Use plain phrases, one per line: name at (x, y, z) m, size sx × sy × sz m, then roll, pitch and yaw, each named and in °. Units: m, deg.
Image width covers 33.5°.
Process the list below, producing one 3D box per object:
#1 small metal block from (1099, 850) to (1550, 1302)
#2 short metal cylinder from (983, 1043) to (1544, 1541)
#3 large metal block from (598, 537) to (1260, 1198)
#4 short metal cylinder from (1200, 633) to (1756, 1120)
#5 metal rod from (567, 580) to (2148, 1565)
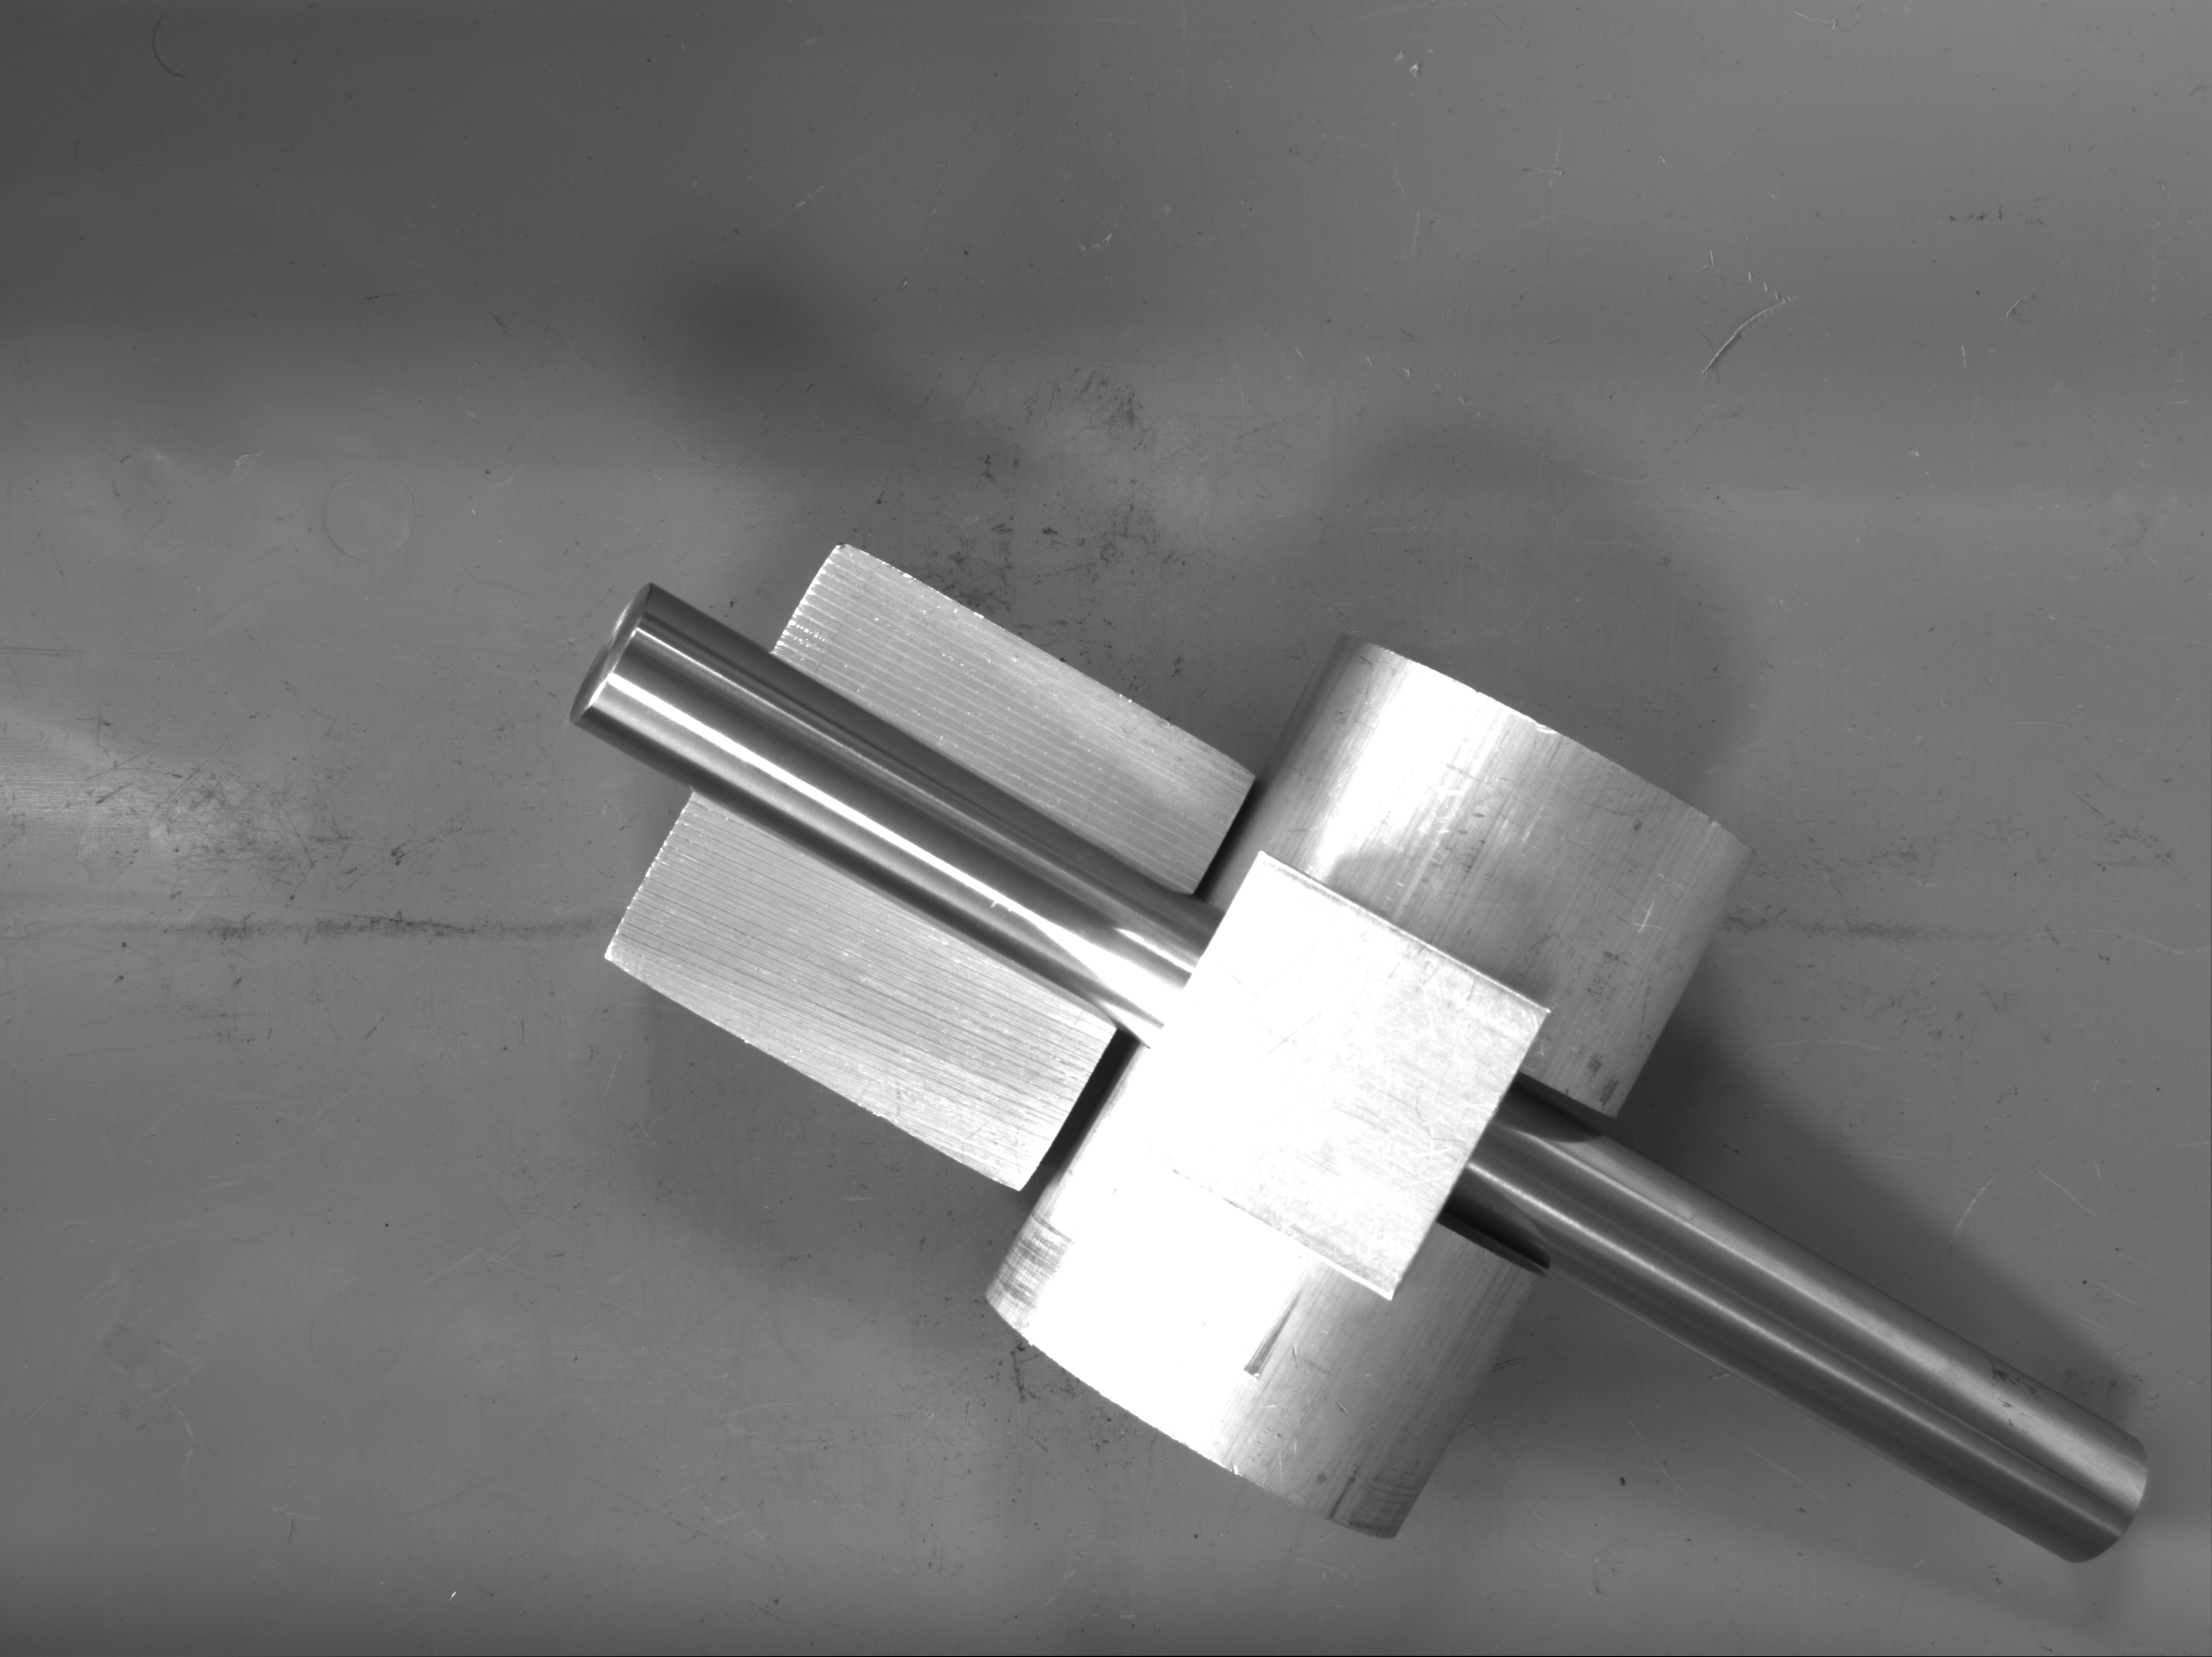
small metal block at (0.034, 0.038, 0.566) m, size 0.050 × 0.025 × 0.050 m, roll 29°, pitch 90°, yaw 8°
short metal cylinder at (0.027, 0.077, 0.617) m, size 0.080 × 0.080 × 0.050 m, roll 30°, pitch 90°, yaw 0°
large metal block at (-0.029, 0.006, 0.630) m, size 0.080 × 0.050 × 0.080 m, roll 29°, pitch 90°, yaw 0°
short metal cylinder at (0.062, 0.008, 0.618) m, size 0.080 × 0.080 × 0.050 m, roll 28°, pitch 90°, yaw 0°
metal rod at (0.049, 0.045, 0.605) m, size 0.300 × 0.025 × 0.025 m, roll 30°, pitch 90°, yaw -15°
